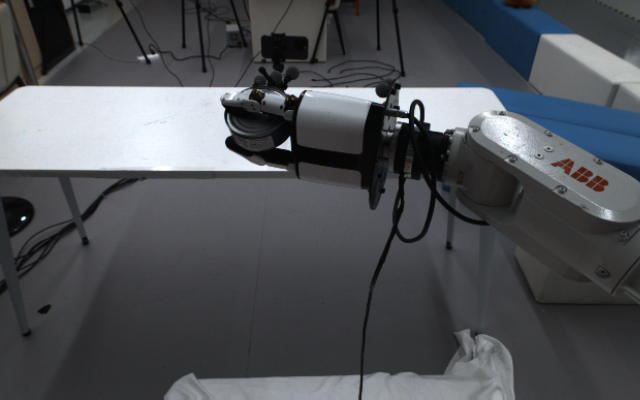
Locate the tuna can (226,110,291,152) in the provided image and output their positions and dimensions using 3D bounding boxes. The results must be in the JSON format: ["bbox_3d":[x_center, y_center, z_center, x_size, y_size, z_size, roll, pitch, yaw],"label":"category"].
[{"bbox_3d":[-0.076,-0.106,0.623,0.085,0.034,0.085,-4,56,6],"label":"tuna can"}]
